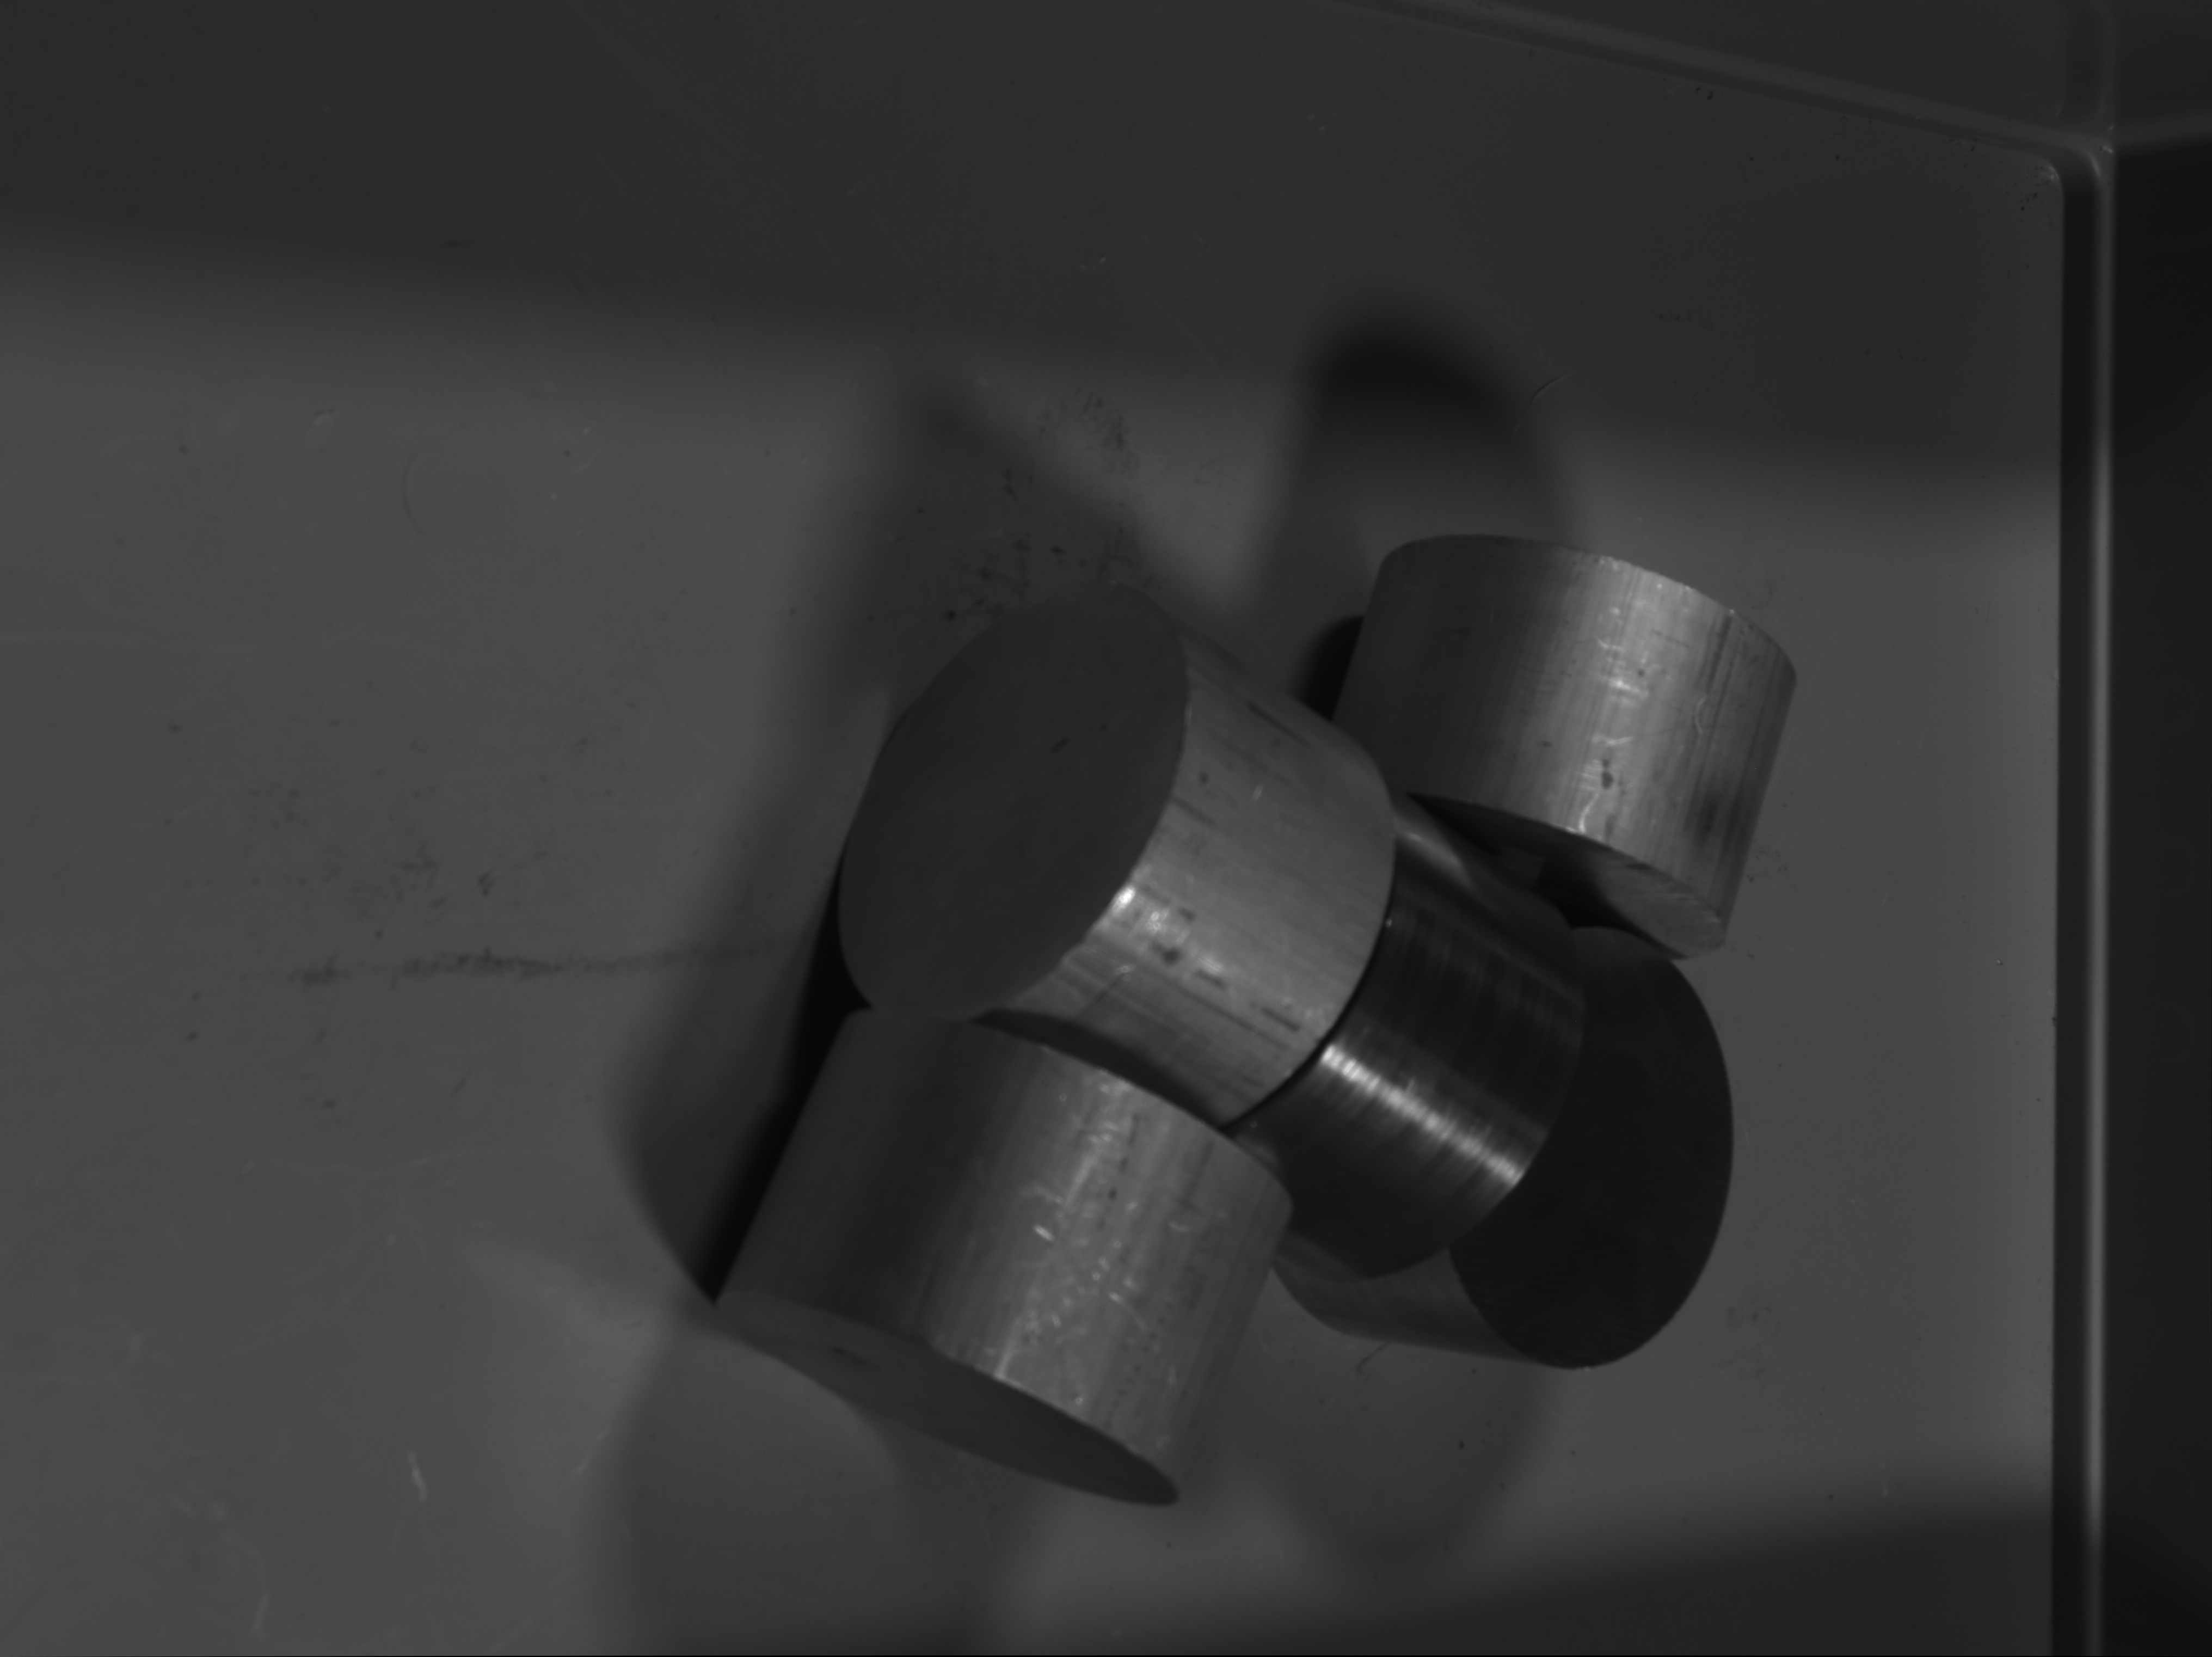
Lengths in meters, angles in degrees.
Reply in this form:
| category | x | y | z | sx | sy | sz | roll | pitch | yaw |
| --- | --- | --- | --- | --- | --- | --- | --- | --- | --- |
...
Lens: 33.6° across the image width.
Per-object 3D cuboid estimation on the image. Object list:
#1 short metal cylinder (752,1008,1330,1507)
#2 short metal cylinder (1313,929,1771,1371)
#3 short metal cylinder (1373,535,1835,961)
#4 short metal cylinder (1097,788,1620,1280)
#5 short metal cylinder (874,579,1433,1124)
| category | x | y | z | sx | sy | sz | roll | pitch | yaw |
| --- | --- | --- | --- | --- | --- | --- | --- | --- | --- |
| short metal cylinder | -0.010 | 0.070 | 0.591 | 0.080 | 0.080 | 0.050 | 36 | 68 | -34 |
| short metal cylinder | 0.079 | 0.058 | 0.685 | 0.080 | 0.050 | 0.080 | 0 | 90 | -40 |
| short metal cylinder | 0.088 | -0.014 | 0.674 | 0.080 | 0.080 | 0.050 | 29 | 72 | -36 |
| short metal cylinder | 0.042 | 0.032 | 0.636 | 0.050 | 0.080 | 0.080 | 33 | 69 | -35 |
| short metal cylinder | 0.007 | 0.006 | 0.606 | 0.050 | 0.080 | 0.080 | 32 | 70 | -35 |
